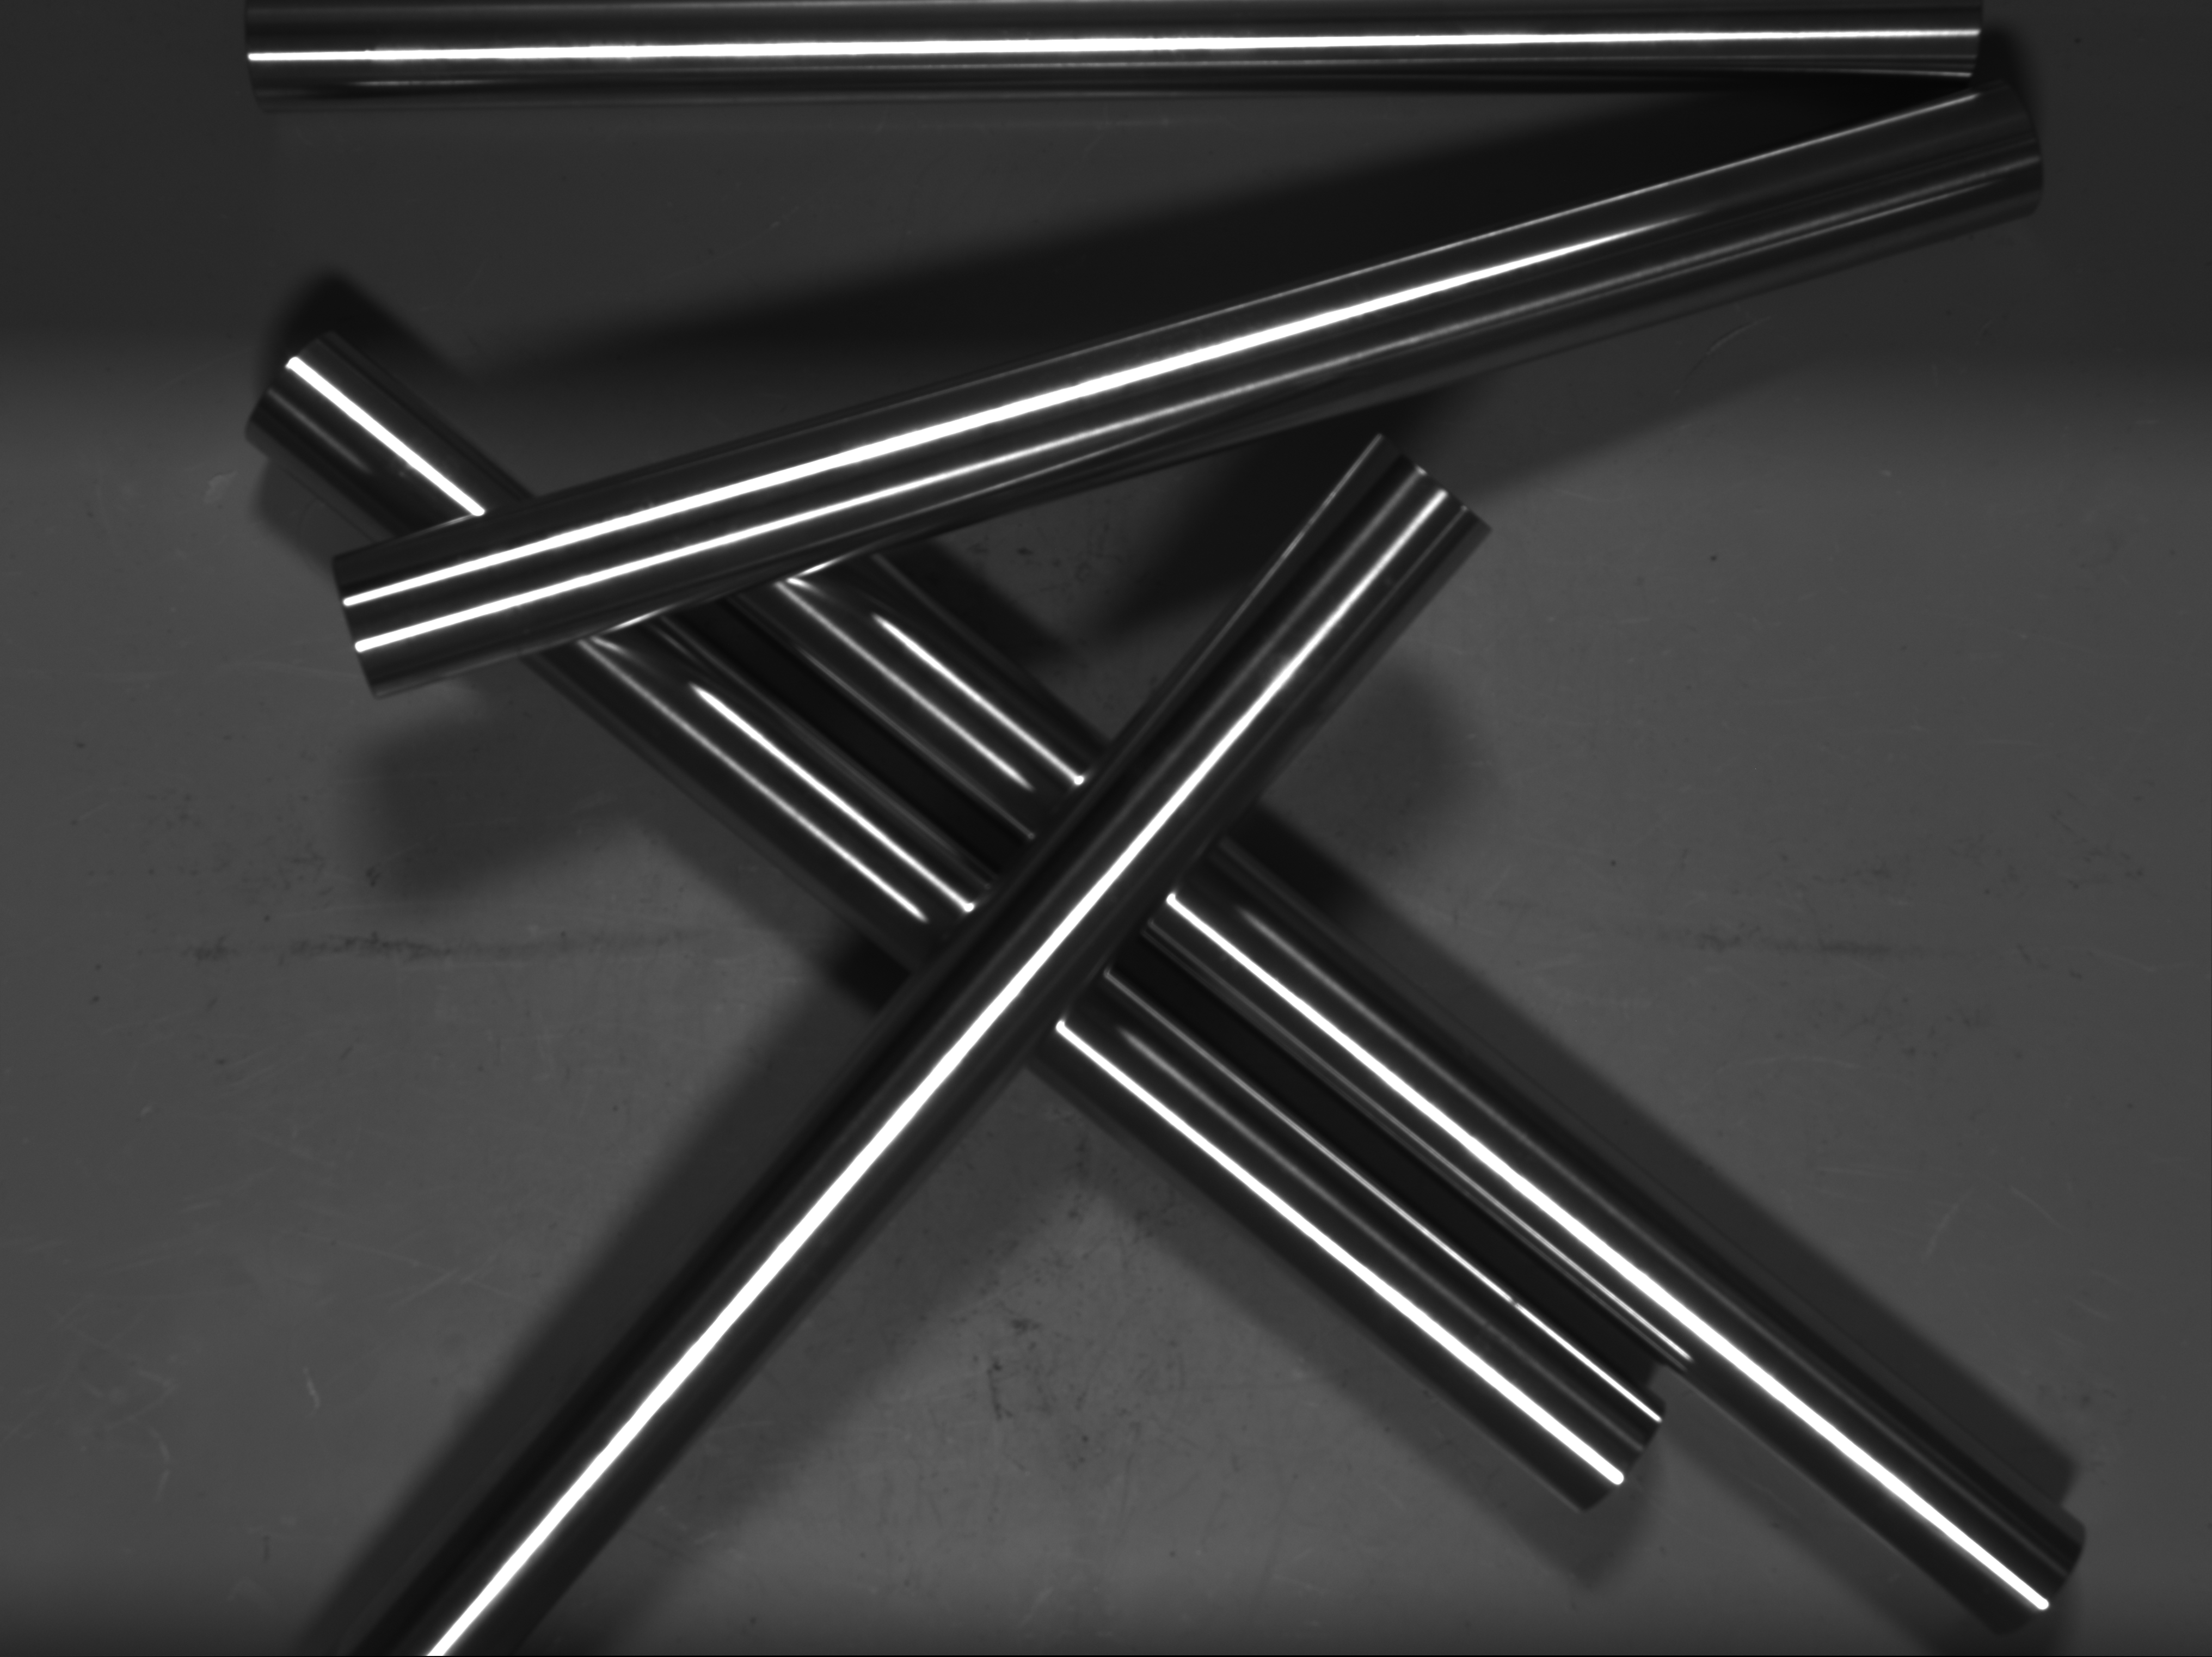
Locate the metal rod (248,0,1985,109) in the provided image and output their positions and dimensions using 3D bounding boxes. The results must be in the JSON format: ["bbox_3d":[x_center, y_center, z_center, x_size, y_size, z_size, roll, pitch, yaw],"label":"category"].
[{"bbox_3d":[0.002,-0.141,0.645,0.300,0.025,0.025,-1,90,-1],"label":"metal rod"}]

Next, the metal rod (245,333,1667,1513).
[{"bbox_3d":[-0.026,0.017,0.645,0.300,0.025,0.025,39,90,0],"label":"metal rod"}]

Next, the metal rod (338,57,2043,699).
[{"bbox_3d":[0.018,-0.079,0.630,0.300,0.025,0.025,-18,90,-7],"label":"metal rod"}]

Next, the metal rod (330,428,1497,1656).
[{"bbox_3d":[-0.042,0.055,0.624,0.025,0.025,0.300,41,97,0],"label":"metal rod"}]

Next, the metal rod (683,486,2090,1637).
[{"bbox_3d":[0.048,0.039,0.645,0.300,0.025,0.025,39,90,0],"label":"metal rod"}]
